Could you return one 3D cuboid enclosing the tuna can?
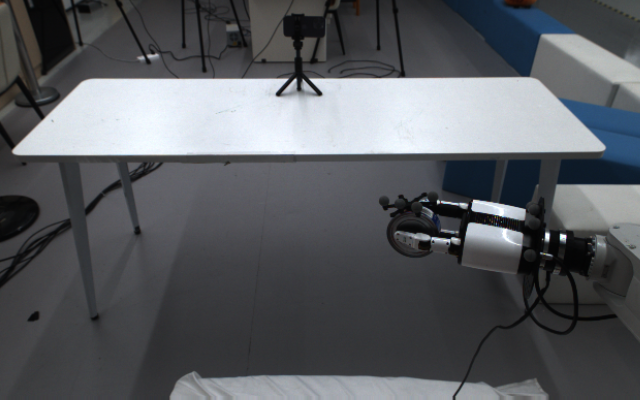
[{"bbox_3d":[0.157,0.051,0.799,0.085,0.085,0.034,13,27,16],"label":"tuna can"}]
